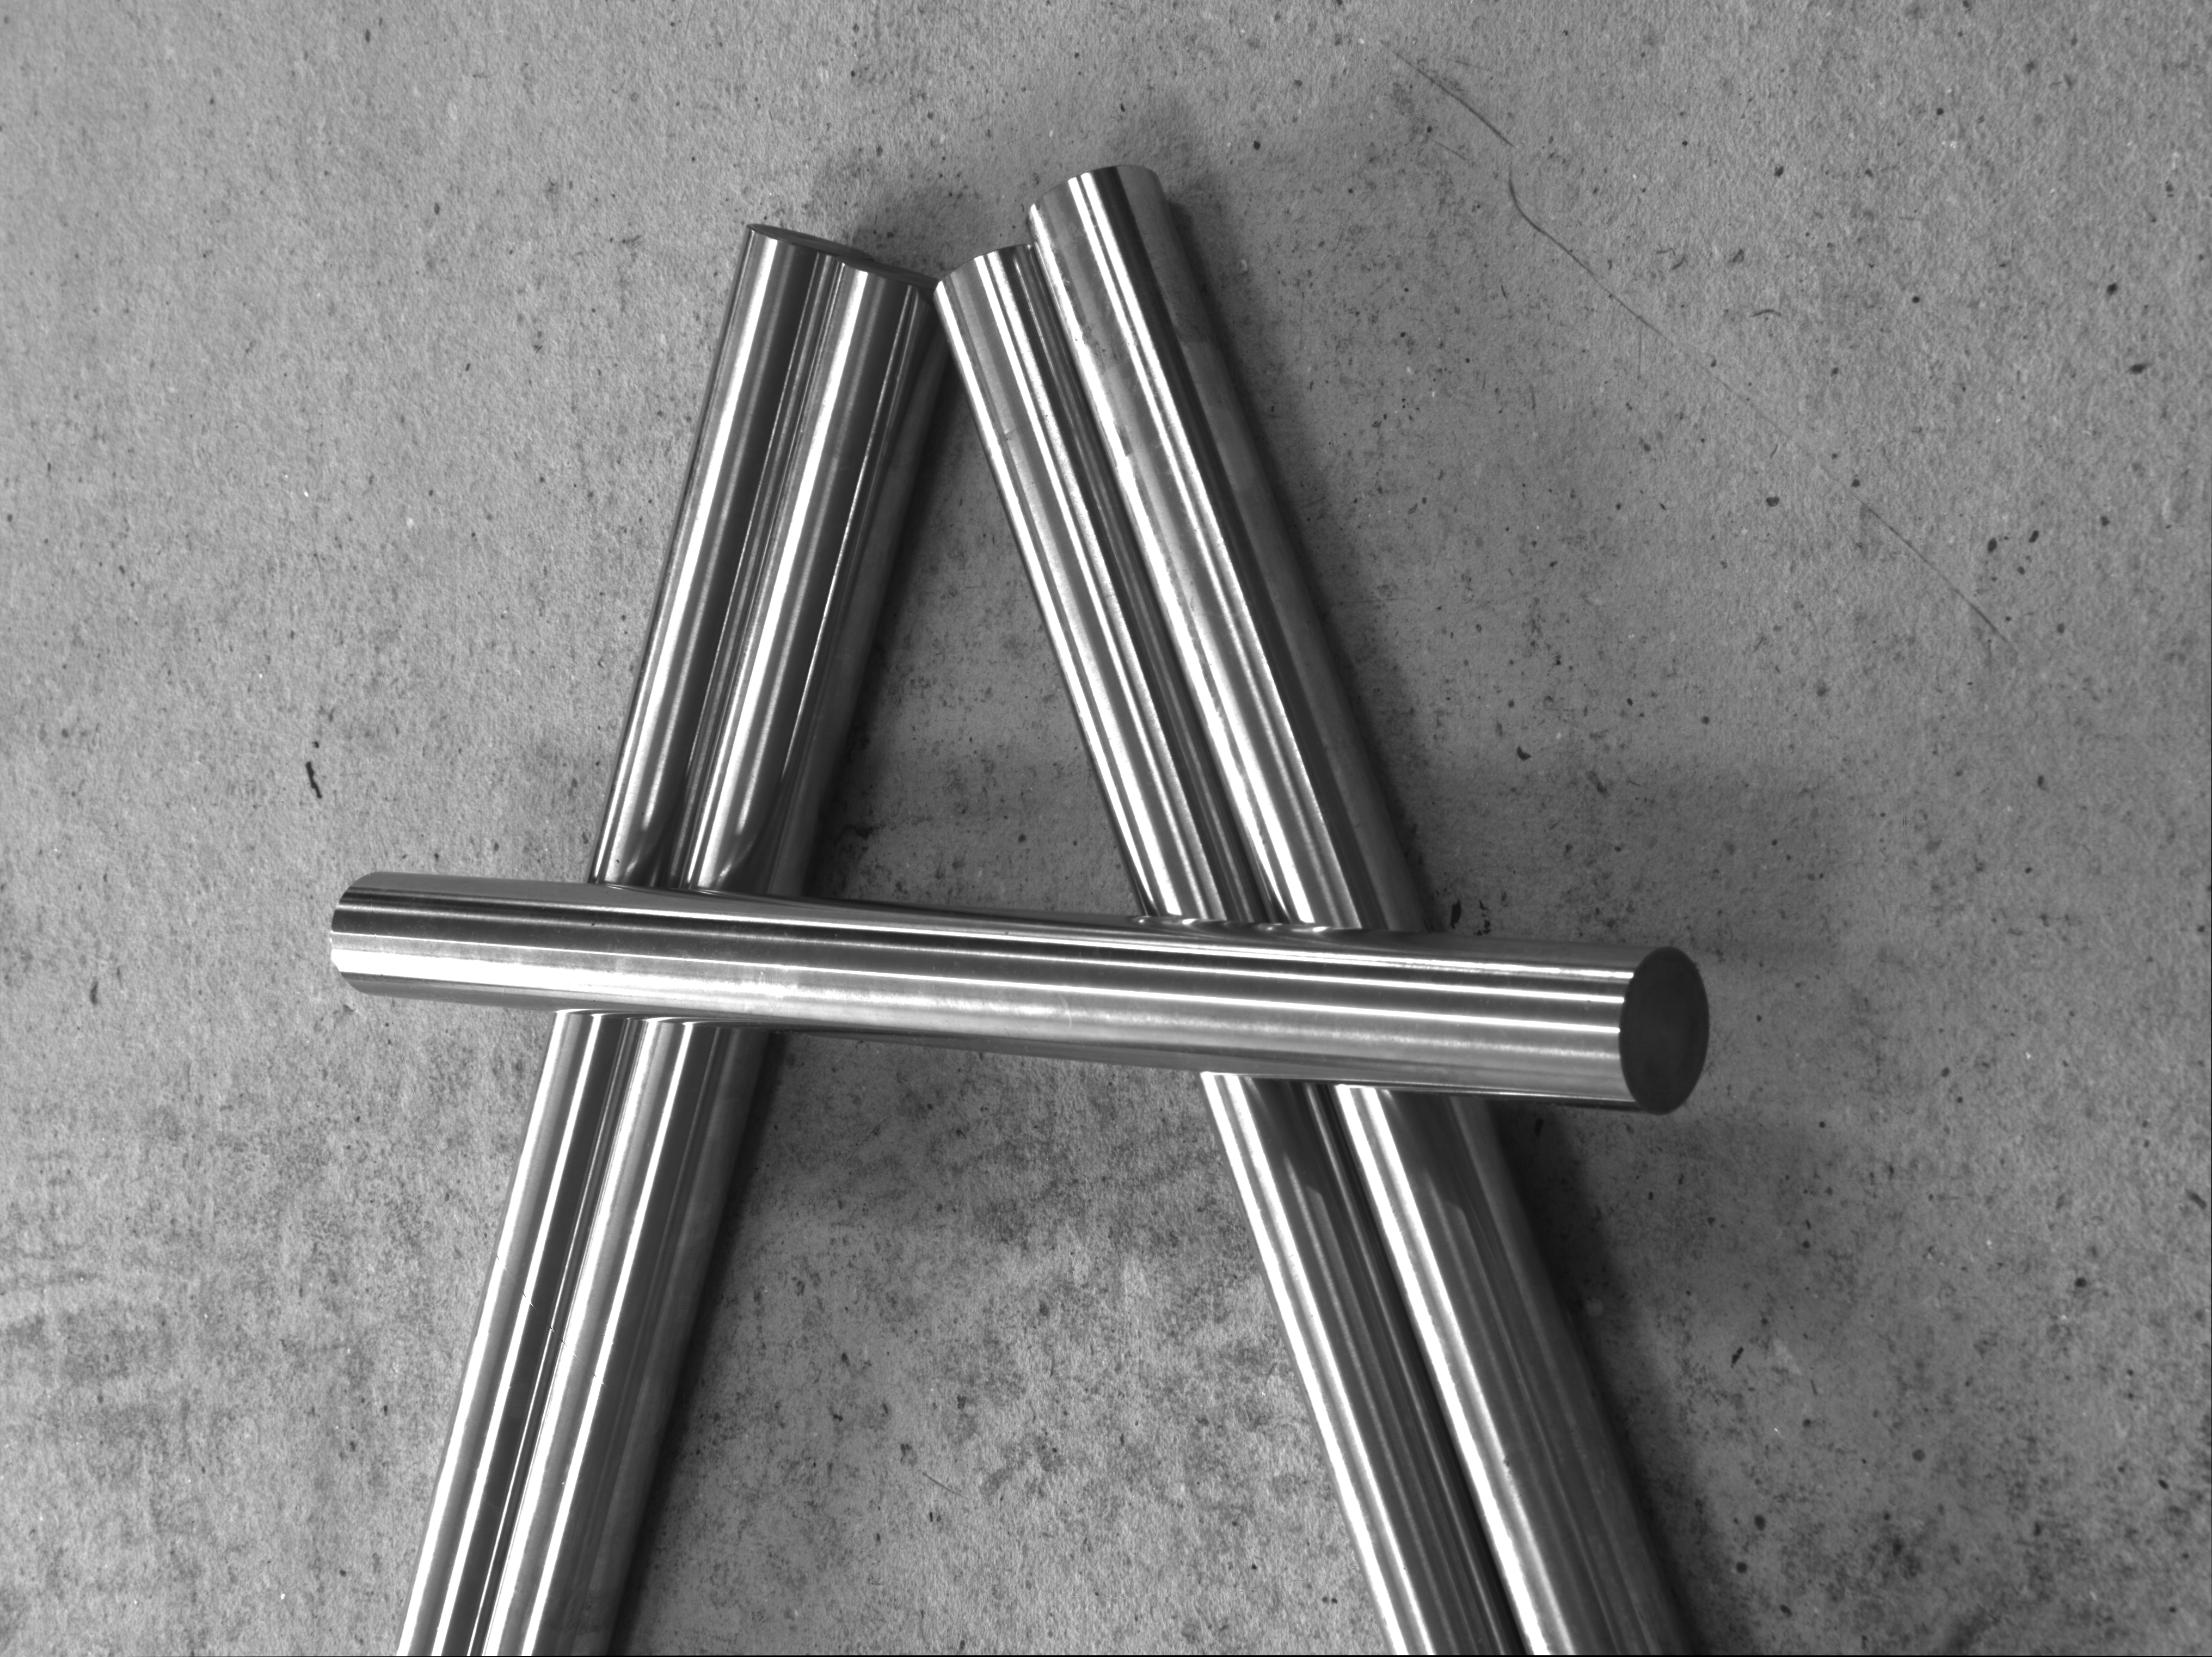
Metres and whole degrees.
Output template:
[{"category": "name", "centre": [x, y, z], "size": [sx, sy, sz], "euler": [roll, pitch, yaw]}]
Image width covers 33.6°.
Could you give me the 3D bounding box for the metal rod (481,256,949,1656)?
[{"category": "metal rod", "centre": [-0.078, 0.039, 0.710], "size": [0.025, 0.025, 0.300], "euler": [25, 106, 37]}]

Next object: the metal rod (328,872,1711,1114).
[{"category": "metal rod", "centre": [-0.031, 0.026, 0.639], "size": [0.299, 0.025, 0.025], "euler": [2, 91, 40]}]

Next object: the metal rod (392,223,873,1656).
[{"category": "metal rod", "centre": [-0.096, 0.030, 0.725], "size": [0.025, 0.025, 0.300], "euler": [26, 106, 37]}]

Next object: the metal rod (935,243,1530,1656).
[{"category": "metal rod", "centre": [0.027, 0.038, 0.623], "size": [0.025, 0.025, 0.300], "euler": [-30, 71, 36]}]

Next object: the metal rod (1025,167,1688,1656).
[{"category": "metal rod", "centre": [0.044, 0.027, 0.609], "size": [0.025, 0.025, 0.300], "euler": [-30, 71, 36]}]
